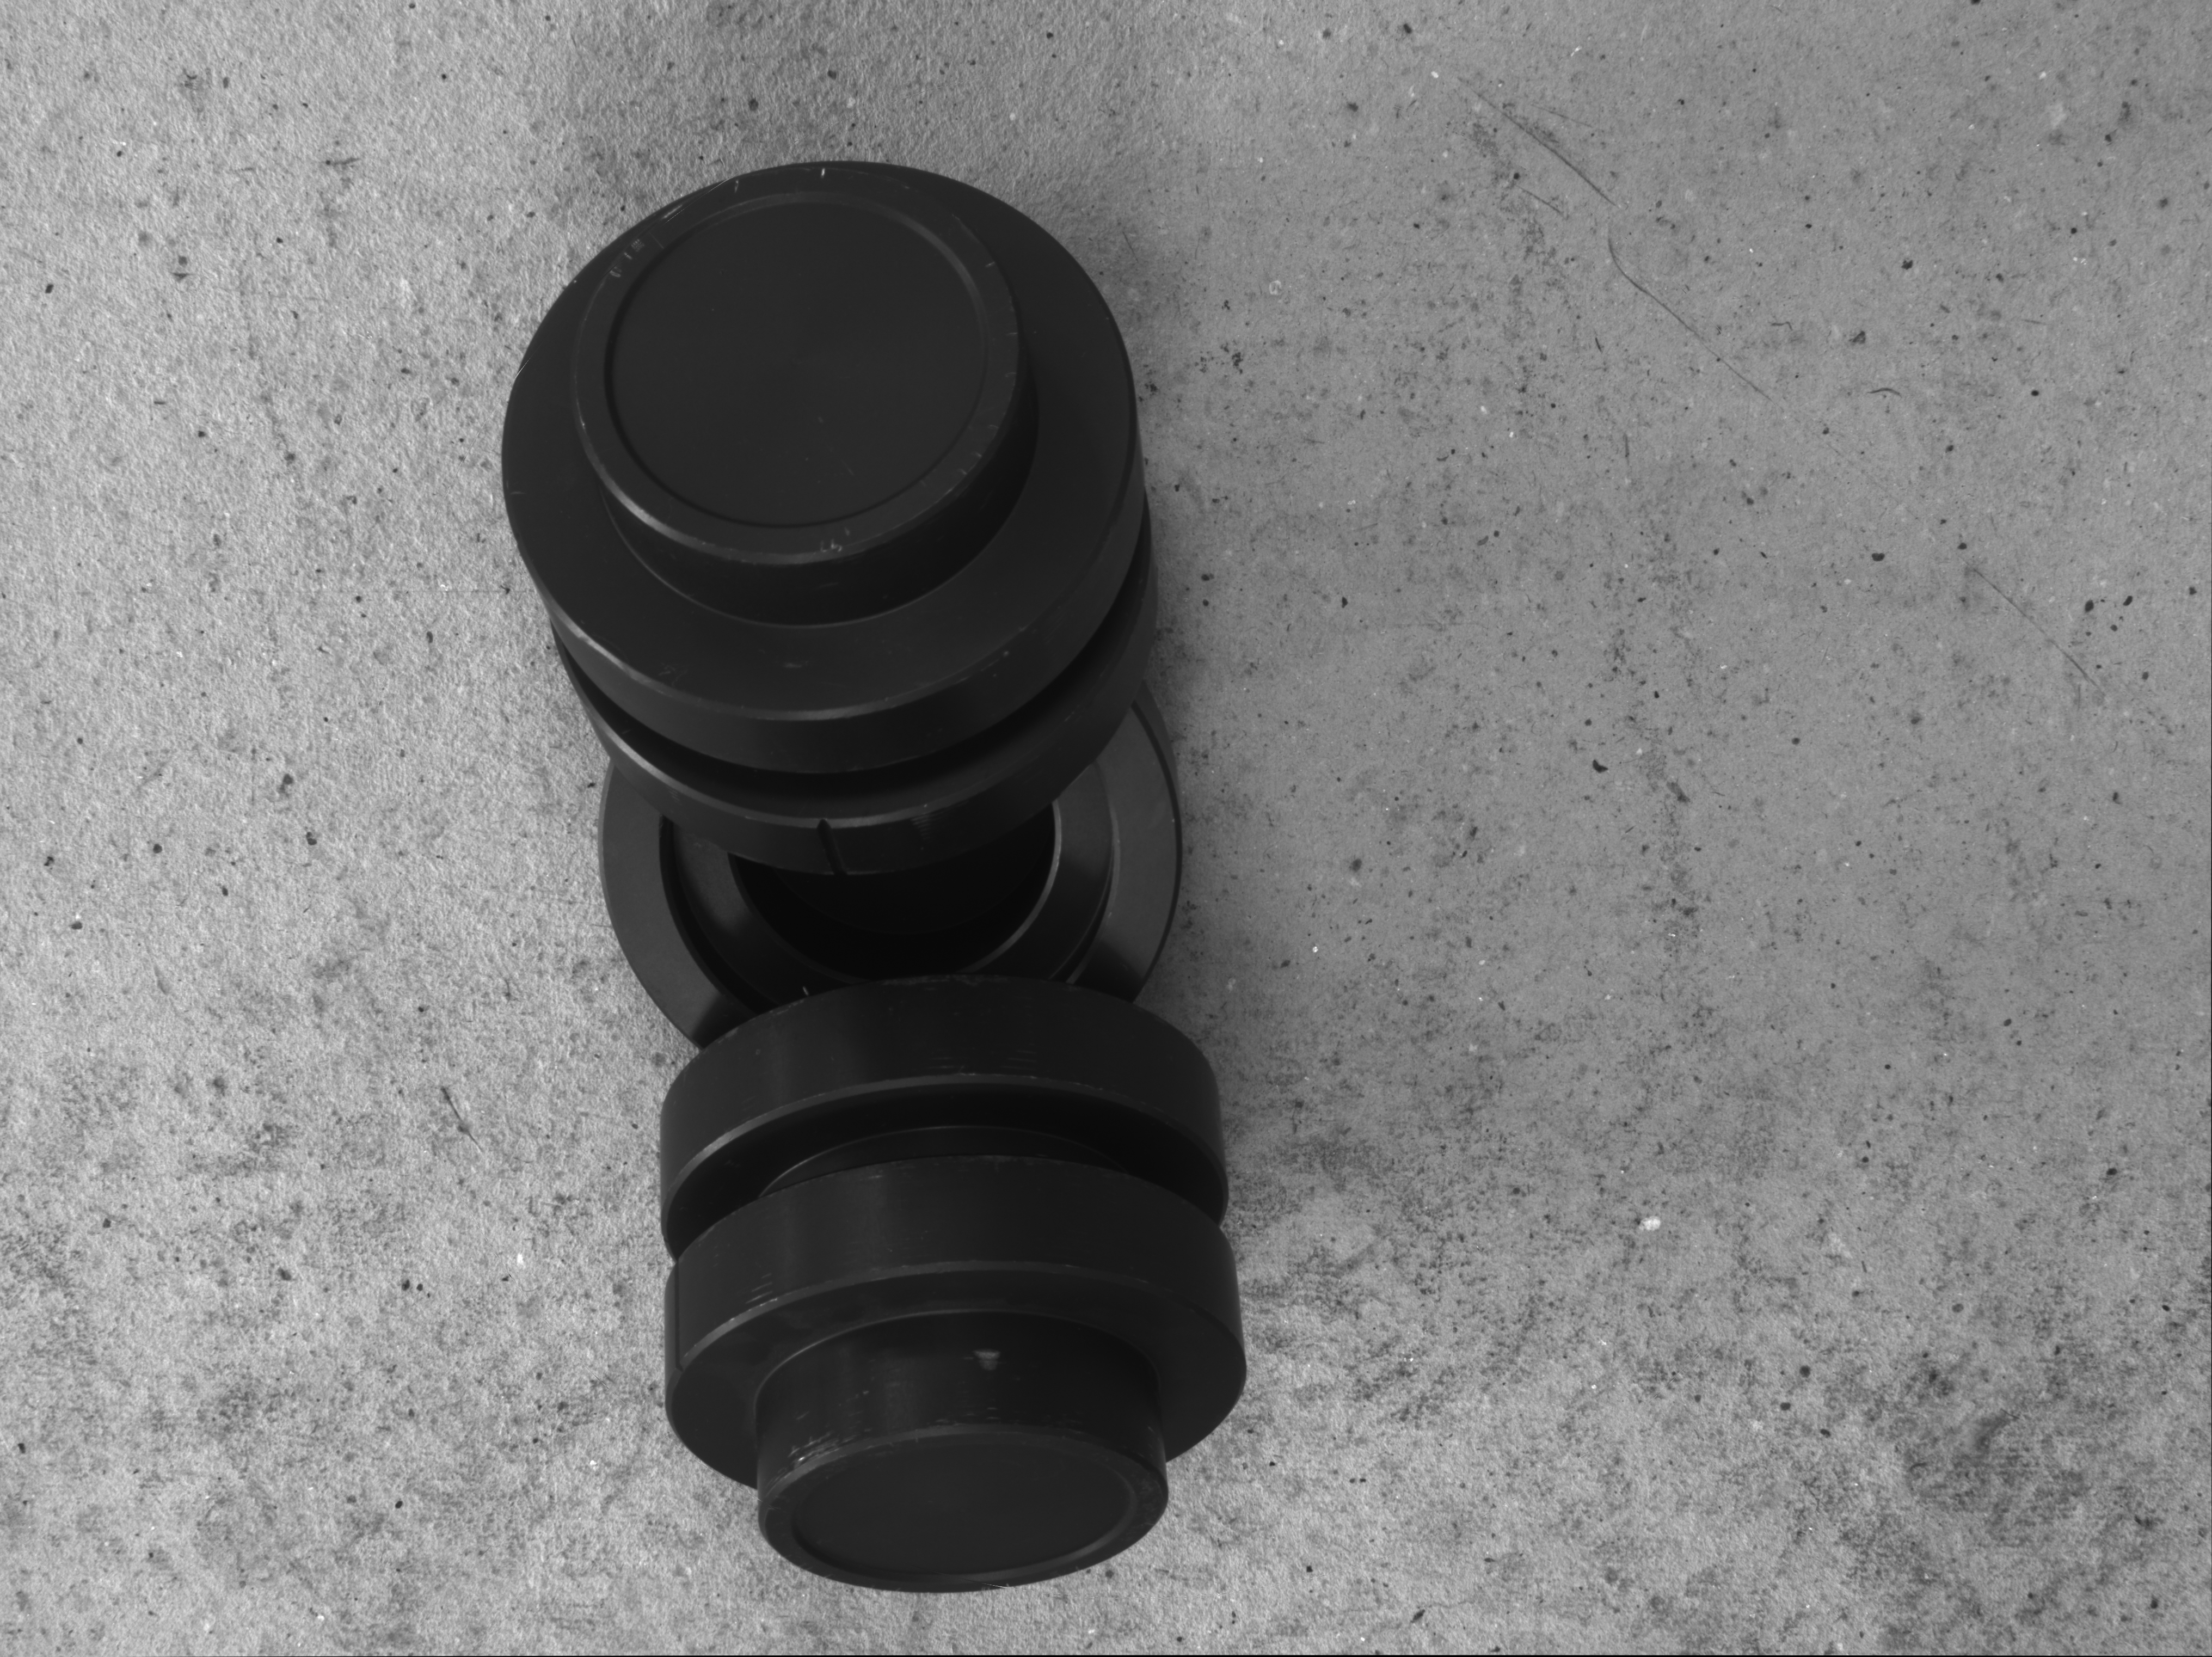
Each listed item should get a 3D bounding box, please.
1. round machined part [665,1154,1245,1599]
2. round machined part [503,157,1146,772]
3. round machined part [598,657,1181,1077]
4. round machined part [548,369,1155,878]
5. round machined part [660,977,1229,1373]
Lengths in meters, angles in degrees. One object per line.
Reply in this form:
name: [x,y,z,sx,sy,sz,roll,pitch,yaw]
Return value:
round machined part: [-0.025,0.097,0.619,0.098,0.042,0.098,-4,146,-2]
round machined part: [-0.044,-0.062,0.561,0.098,0.042,0.098,-1,67,4]
round machined part: [-0.036,-0.003,0.634,0.098,0.042,0.098,0,110,0]
round machined part: [-0.042,-0.045,0.589,0.098,0.042,0.098,-1,67,3]
round machined part: [-0.028,0.069,0.633,0.098,0.042,0.098,-3,146,-2]
